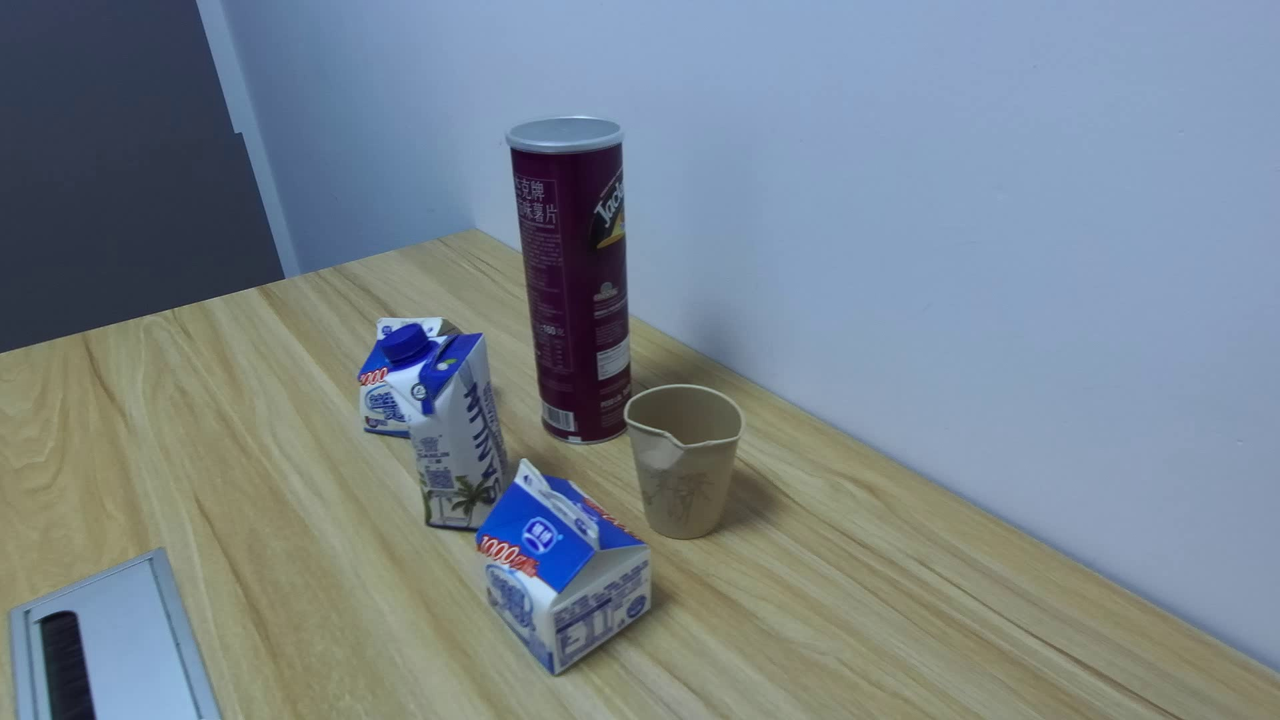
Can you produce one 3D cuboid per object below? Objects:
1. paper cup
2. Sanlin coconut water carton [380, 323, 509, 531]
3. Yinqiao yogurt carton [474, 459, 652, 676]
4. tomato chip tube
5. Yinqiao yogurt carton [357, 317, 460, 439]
[{"bbox_3d":[0.028,0.069,0.469,0.073,0.081,0.068,-10,31,-16],"label":"paper cup"},{"bbox_3d":[-0.125,0.043,0.470,0.057,0.142,0.078,-2,31,10],"label":"Sanlin coconut water carton"},{"bbox_3d":[-0.044,0.109,0.403,0.074,0.092,0.075,-24,38,-33],"label":"Yinqiao yogurt carton"},{"bbox_3d":[-0.046,-0.052,0.529,0.078,0.234,0.078,-1,30,1],"label":"tomato chip tube"},{"bbox_3d":[-0.178,0.005,0.569,0.083,0.093,0.077,7,31,13],"label":"Yinqiao yogurt carton"}]
